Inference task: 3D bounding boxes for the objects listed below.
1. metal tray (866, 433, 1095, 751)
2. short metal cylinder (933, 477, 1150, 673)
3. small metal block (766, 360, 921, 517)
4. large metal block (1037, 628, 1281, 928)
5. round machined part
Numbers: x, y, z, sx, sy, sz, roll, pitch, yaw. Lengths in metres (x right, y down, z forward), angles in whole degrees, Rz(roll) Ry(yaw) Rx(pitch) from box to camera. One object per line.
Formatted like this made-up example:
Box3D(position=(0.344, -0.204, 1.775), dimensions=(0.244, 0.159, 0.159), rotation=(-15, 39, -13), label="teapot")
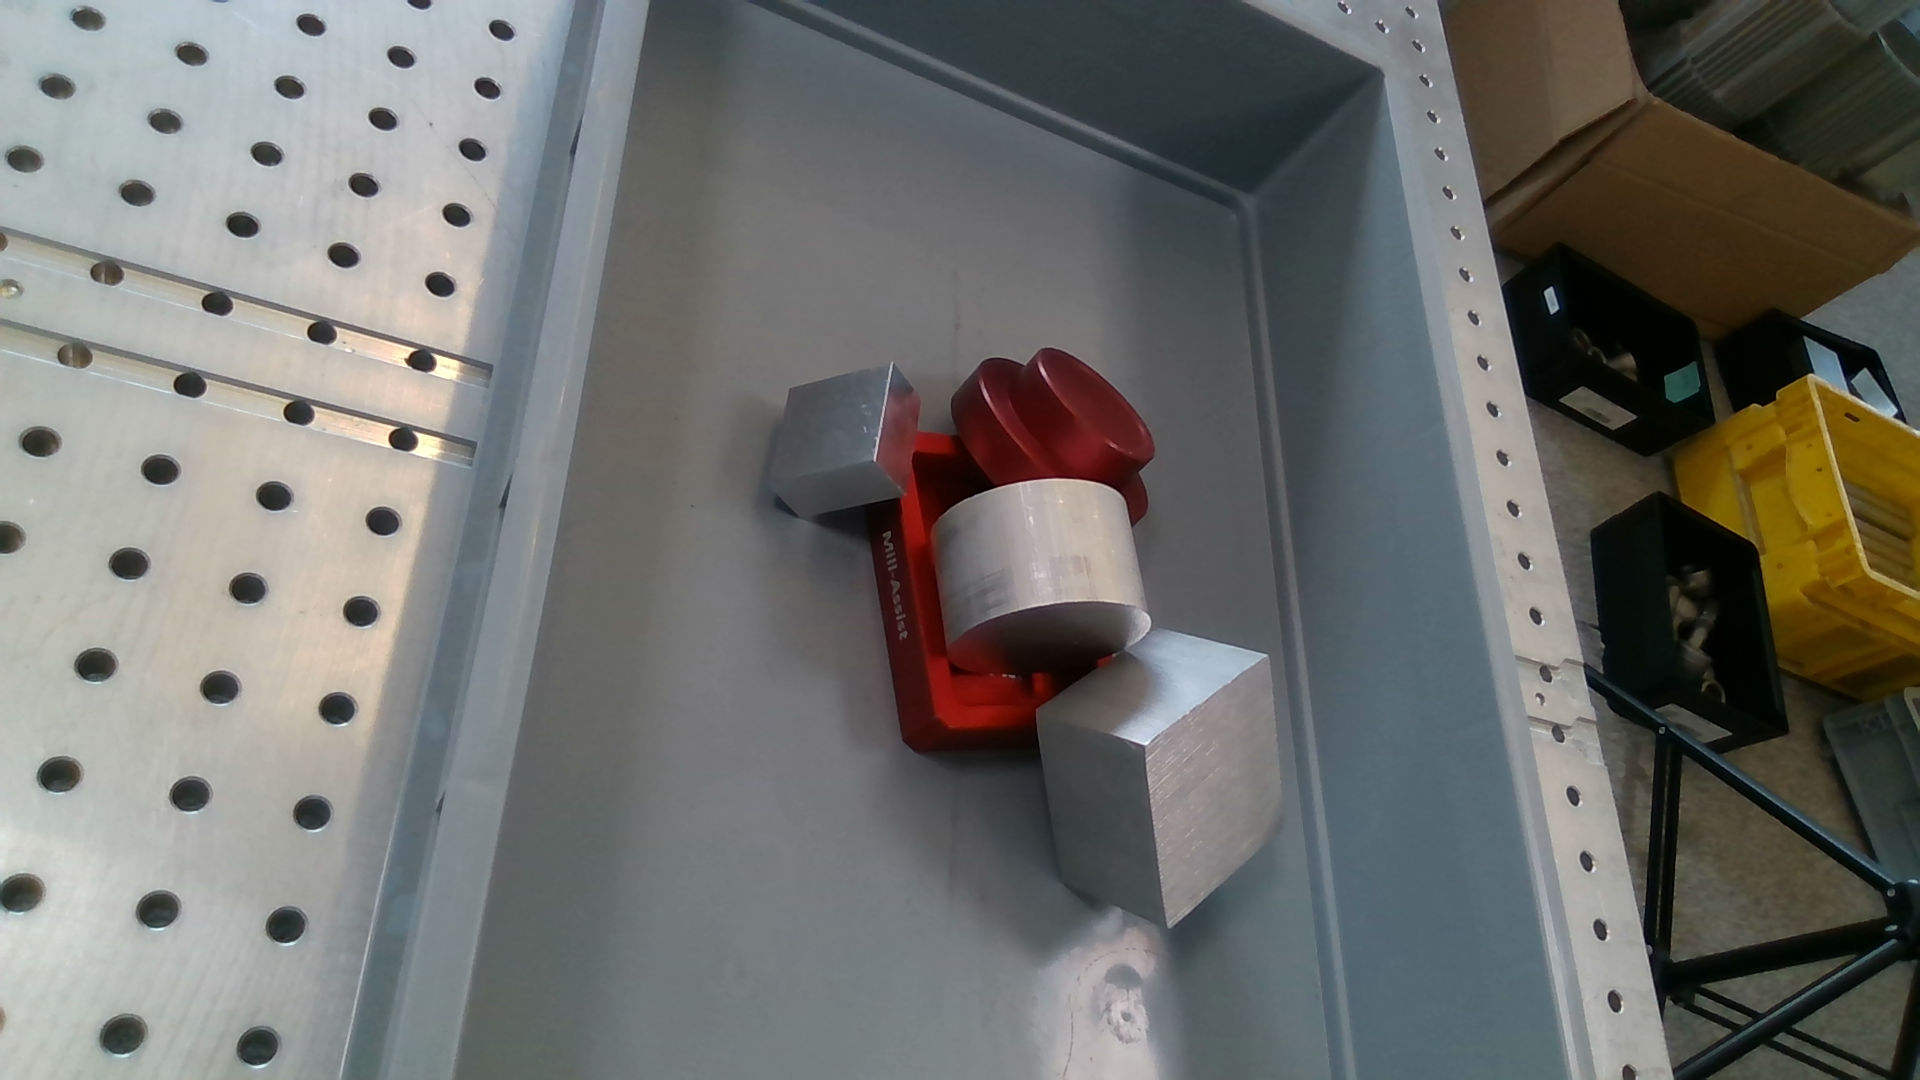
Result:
Box3D(position=(0.012, 0.021, 0.579), dimensions=(0.090, 0.030, 0.130), rotation=(3, 64, -30), label="metal tray")
Box3D(position=(0.031, 0.016, 0.544), dimensions=(0.080, 0.080, 0.050), rotation=(5, 63, -29), label="short metal cylinder")
Box3D(position=(-0.047, -0.041, 0.559), dimensions=(0.025, 0.050, 0.050), rotation=(49, 39, -46), label="small metal block")
Box3D(position=(0.081, 0.090, 0.545), dimensions=(0.080, 0.050, 0.080), rotation=(-28, 119, -38), label="large metal block")
Box3D(position=(0.046, -0.047, 0.603), dimensions=(0.098, 0.042, 0.098), rotation=(35, 25, -19), label="round machined part")
